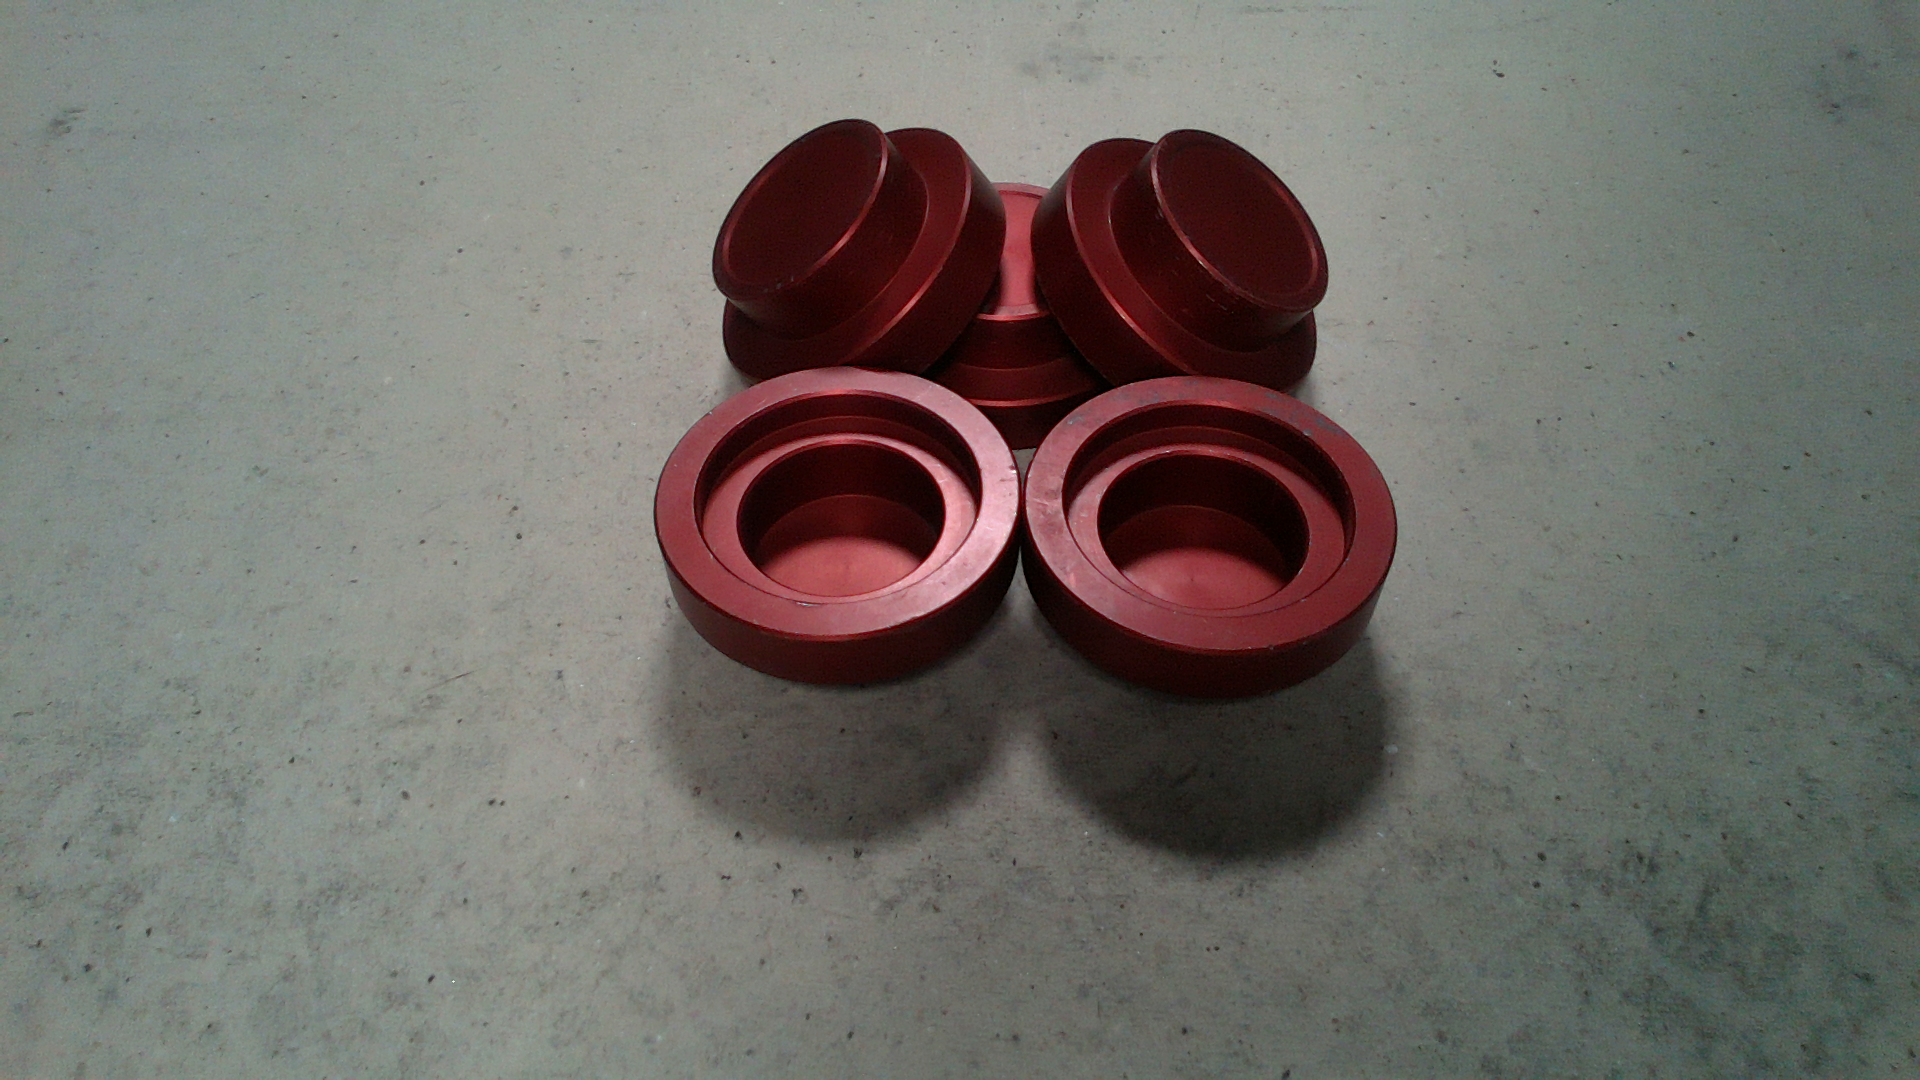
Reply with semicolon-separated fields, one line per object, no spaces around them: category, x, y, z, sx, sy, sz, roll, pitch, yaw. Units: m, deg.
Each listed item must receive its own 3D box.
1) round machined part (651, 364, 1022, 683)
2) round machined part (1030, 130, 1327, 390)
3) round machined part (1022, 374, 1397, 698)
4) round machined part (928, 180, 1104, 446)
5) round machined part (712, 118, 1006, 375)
round machined part;-0.032;-0.001;0.381;0.098;0.042;0.098;0;50;0
round machined part;0.074;-0.086;0.425;0.098;0.042;0.098;19;52;-25
round machined part;0.066;0.003;0.378;0.098;0.042;0.098;0;50;0
round machined part;0.014;-0.080;0.447;0.098;0.042;0.098;0;50;0
round machined part;-0.038;-0.090;0.426;0.098;0.042;0.098;-21;48;26
